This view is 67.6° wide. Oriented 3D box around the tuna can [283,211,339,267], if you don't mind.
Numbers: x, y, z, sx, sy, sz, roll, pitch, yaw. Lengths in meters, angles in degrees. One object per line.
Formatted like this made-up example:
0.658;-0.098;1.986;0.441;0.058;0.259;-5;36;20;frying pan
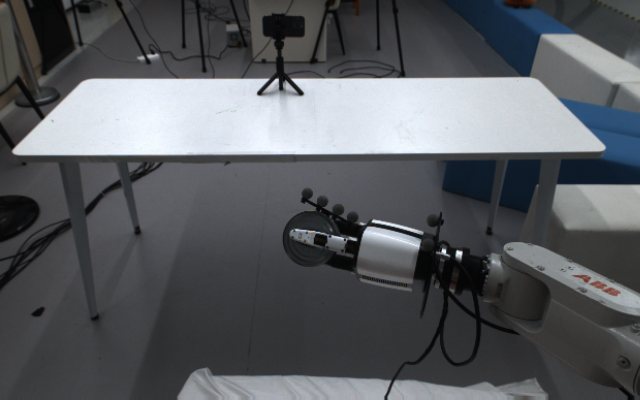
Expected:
-0.011;0.060;0.744;0.085;0.085;0.034;10;-4;11;tuna can
